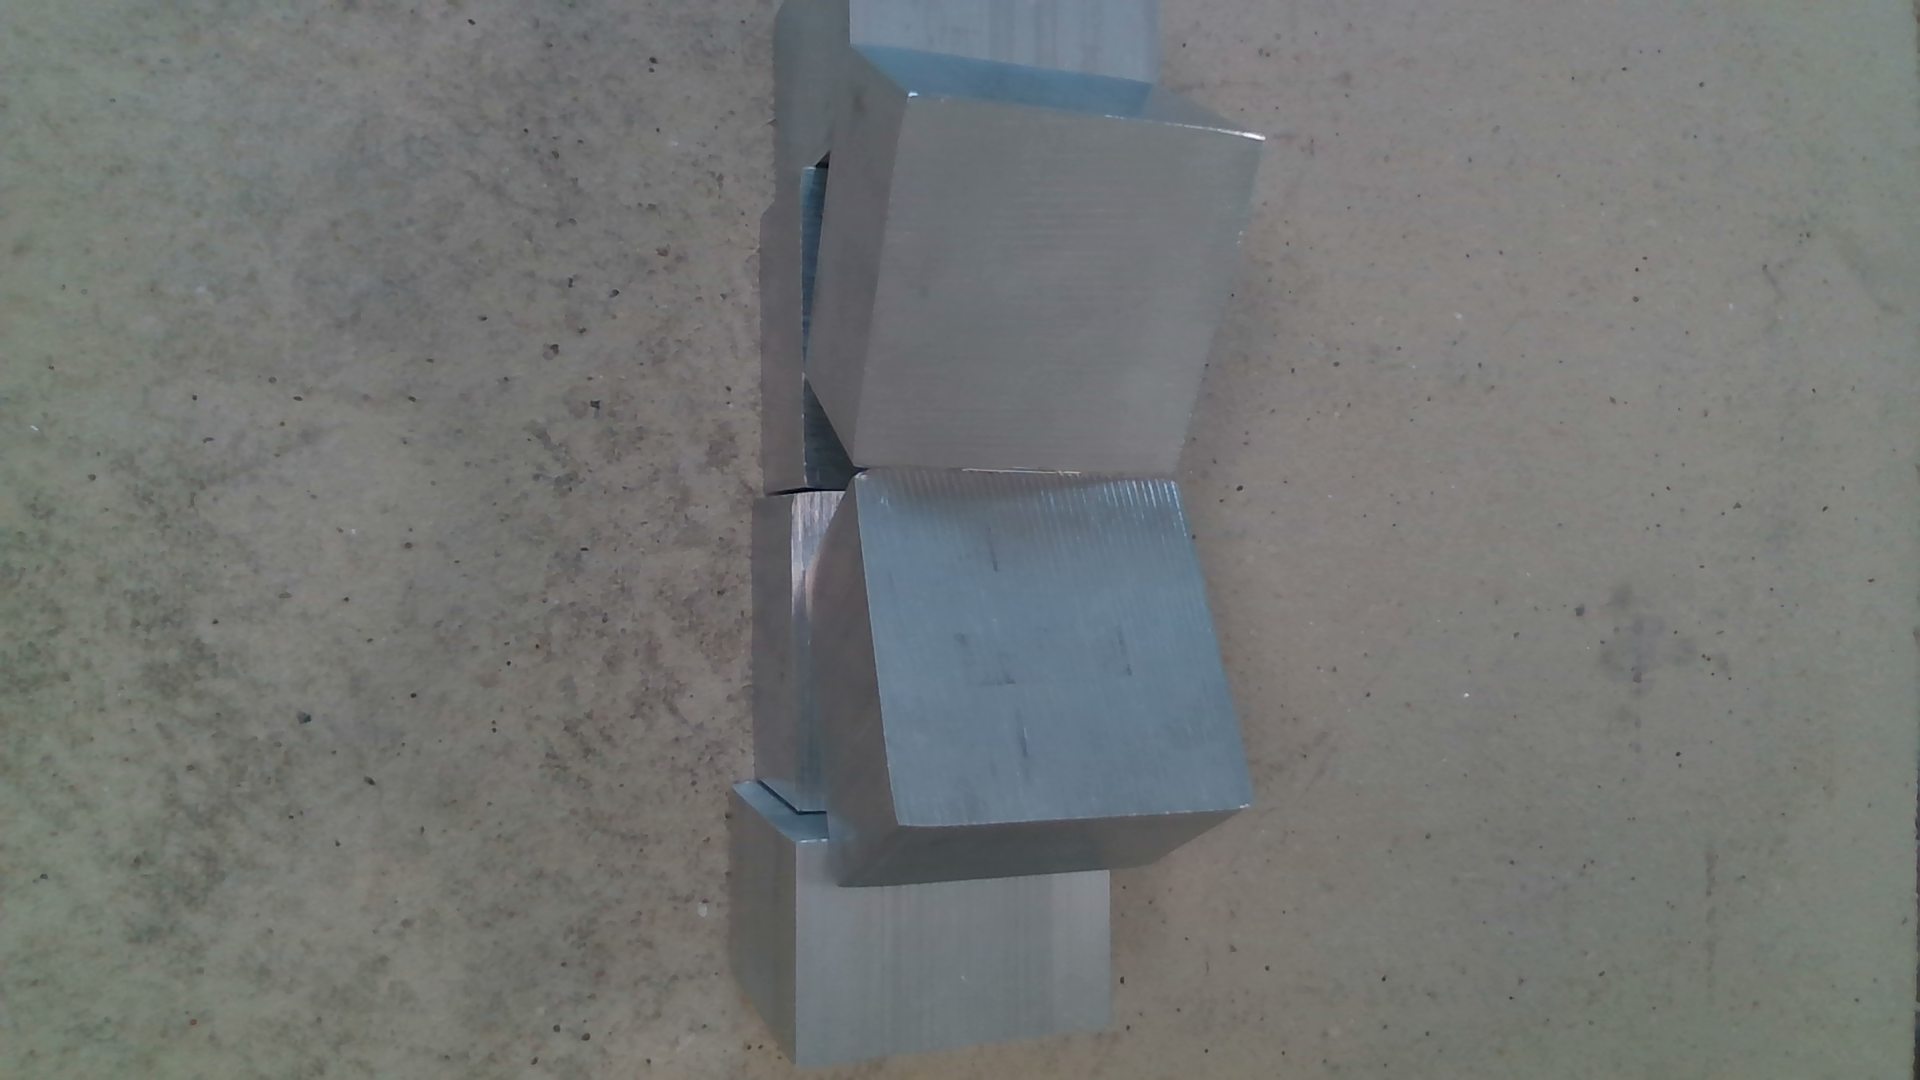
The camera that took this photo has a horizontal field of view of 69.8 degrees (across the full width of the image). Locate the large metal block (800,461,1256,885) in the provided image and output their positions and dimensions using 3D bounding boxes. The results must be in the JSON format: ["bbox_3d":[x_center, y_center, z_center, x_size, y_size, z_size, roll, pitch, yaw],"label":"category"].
[{"bbox_3d":[0.012,0.031,0.316,0.080,0.050,0.080,1,63,-20],"label":"large metal block"}]

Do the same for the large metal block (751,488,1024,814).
[{"bbox_3d":[-0.012,0.027,0.375,0.080,0.050,0.080,0,90,-20],"label":"large metal block"}]

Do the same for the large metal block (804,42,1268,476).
[{"bbox_3d":[0.013,-0.062,0.315,0.080,0.050,0.080,0,119,-20],"label":"large metal block"}]

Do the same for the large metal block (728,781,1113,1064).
[{"bbox_3d":[-0.014,0.093,0.362,0.080,0.080,0.050,0,91,-20],"label":"large metal block"}]

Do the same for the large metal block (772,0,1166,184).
[{"bbox_3d":[-0.001,-0.121,0.364,0.080,0.080,0.050,-1,90,-21],"label":"large metal block"}]

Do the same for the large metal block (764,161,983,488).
[{"bbox_3d":[-0.010,-0.053,0.377,0.080,0.050,0.080,0,90,-20],"label":"large metal block"}]
